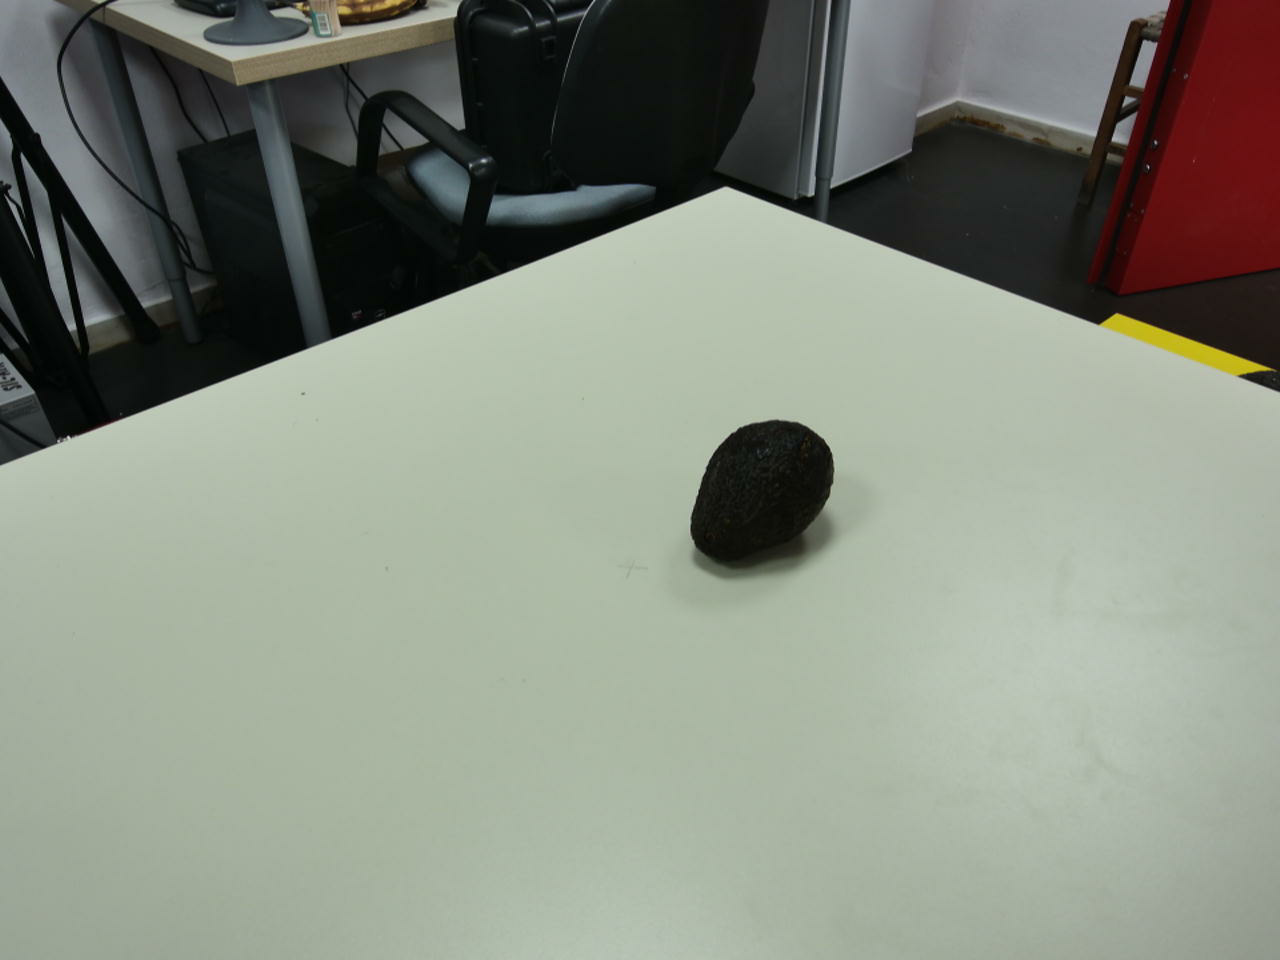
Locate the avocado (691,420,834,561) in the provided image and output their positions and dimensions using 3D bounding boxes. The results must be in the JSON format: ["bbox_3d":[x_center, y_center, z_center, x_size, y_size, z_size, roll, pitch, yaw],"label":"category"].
[{"bbox_3d":[0.069,0.002,0.582,0.090,0.069,0.070,-10,38,-12],"label":"avocado"}]
